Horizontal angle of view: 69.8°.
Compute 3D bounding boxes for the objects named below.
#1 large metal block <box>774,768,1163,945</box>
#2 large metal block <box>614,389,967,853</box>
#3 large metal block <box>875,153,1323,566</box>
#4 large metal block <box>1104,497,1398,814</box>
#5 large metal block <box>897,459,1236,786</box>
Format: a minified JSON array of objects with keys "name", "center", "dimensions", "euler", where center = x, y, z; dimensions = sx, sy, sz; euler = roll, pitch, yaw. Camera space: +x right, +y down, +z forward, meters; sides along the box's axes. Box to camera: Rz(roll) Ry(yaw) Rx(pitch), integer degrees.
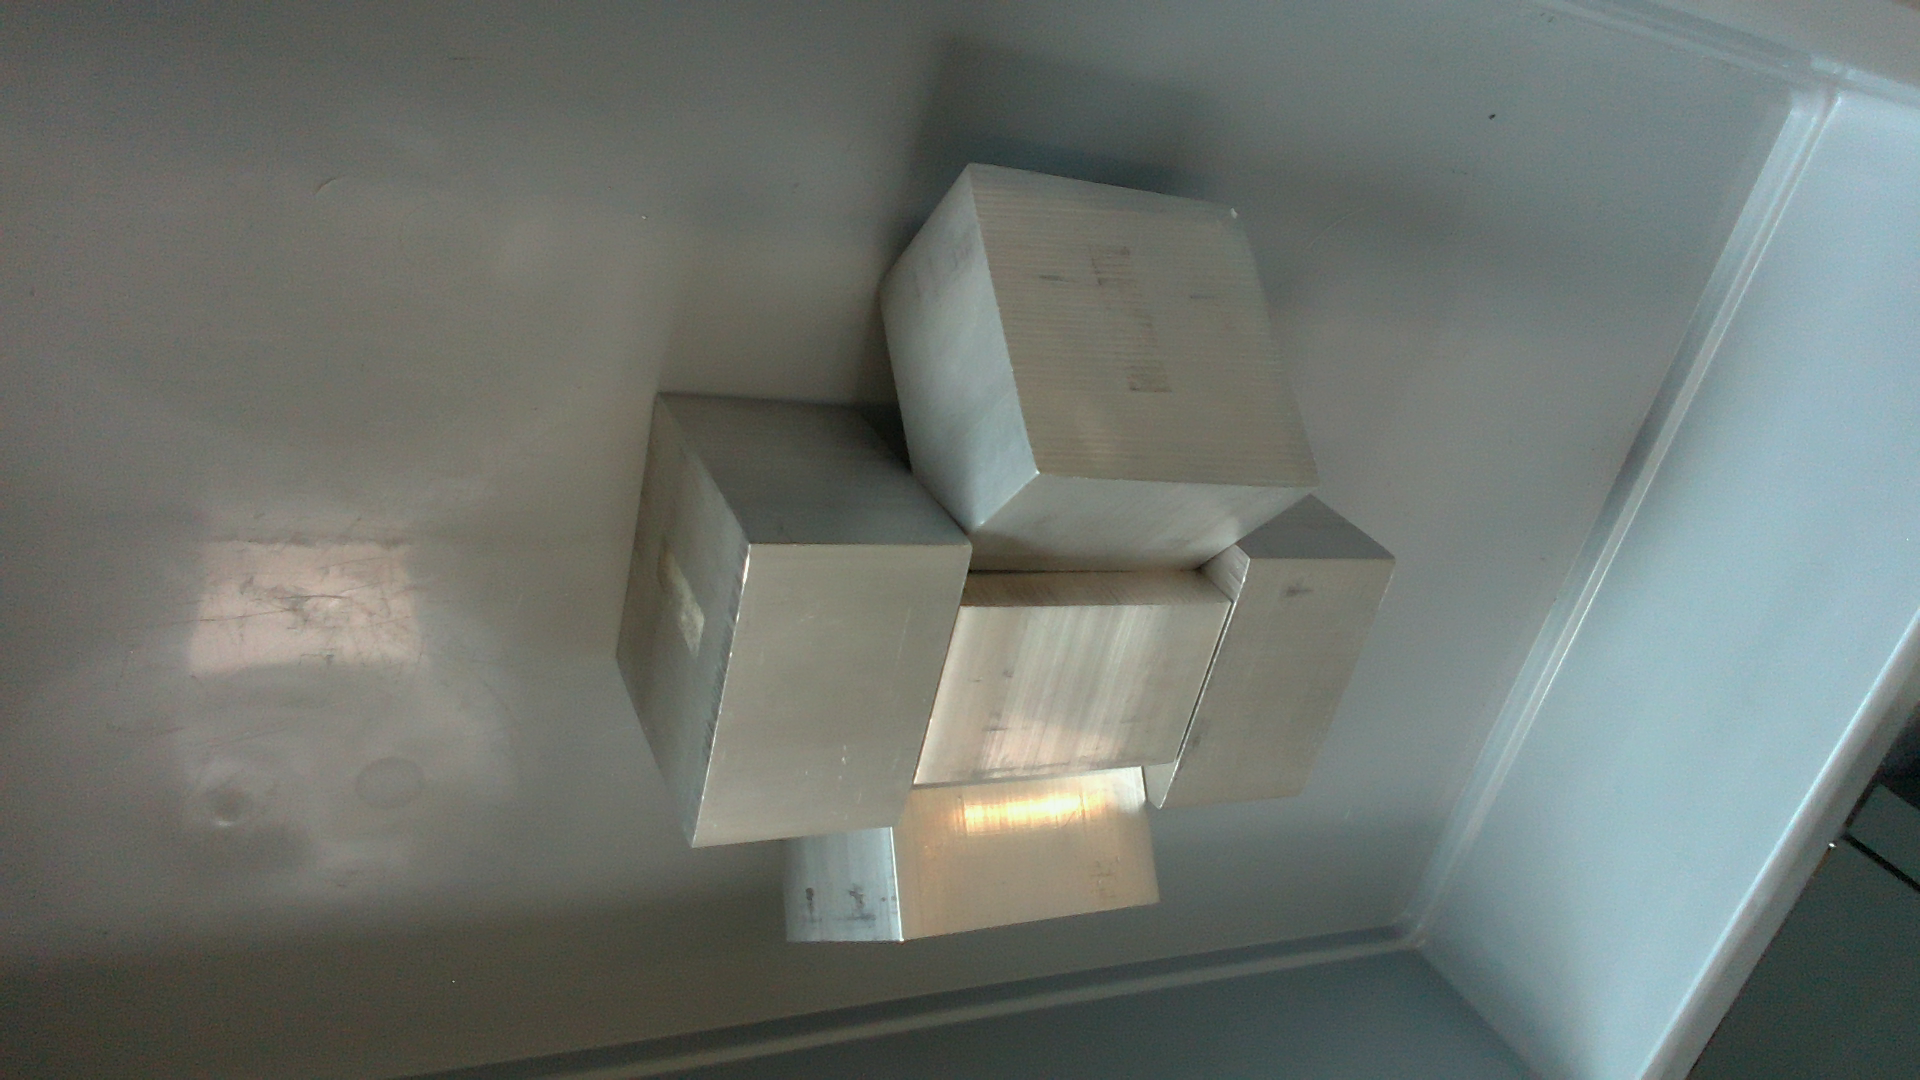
[{"name":"large metal block","center":[-0.001,0.084,0.395],"dimensions":[0.080,0.080,0.050],"euler":[0,76,-30]},{"name":"large metal block","center":[-0.046,0.017,0.338],"dimensions":[0.050,0.080,0.080],"euler":[0,118,-28]},{"name":"large metal block","center":[0.032,-0.040,0.337],"dimensions":[0.080,0.080,0.050],"euler":[1,155,-29]},{"name":"large metal block","center":[0.069,0.021,0.403],"dimensions":[0.050,0.080,0.080],"euler":[1,118,-29]},{"name":"large metal block","center":[0.013,0.019,0.371],"dimensions":[0.080,0.080,0.050],"euler":[1,118,-29]}]
